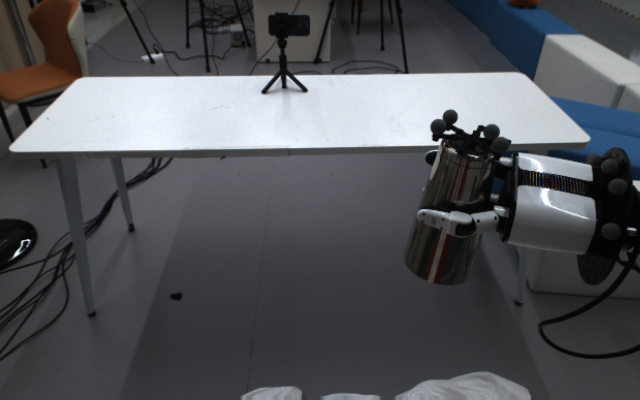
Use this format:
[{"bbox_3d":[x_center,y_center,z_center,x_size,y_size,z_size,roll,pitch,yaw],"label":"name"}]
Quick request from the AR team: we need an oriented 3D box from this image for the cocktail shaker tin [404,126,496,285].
[{"bbox_3d":[0.164,0.009,0.595,0.093,0.170,0.093,4,32,-2],"label":"cocktail shaker tin"}]
